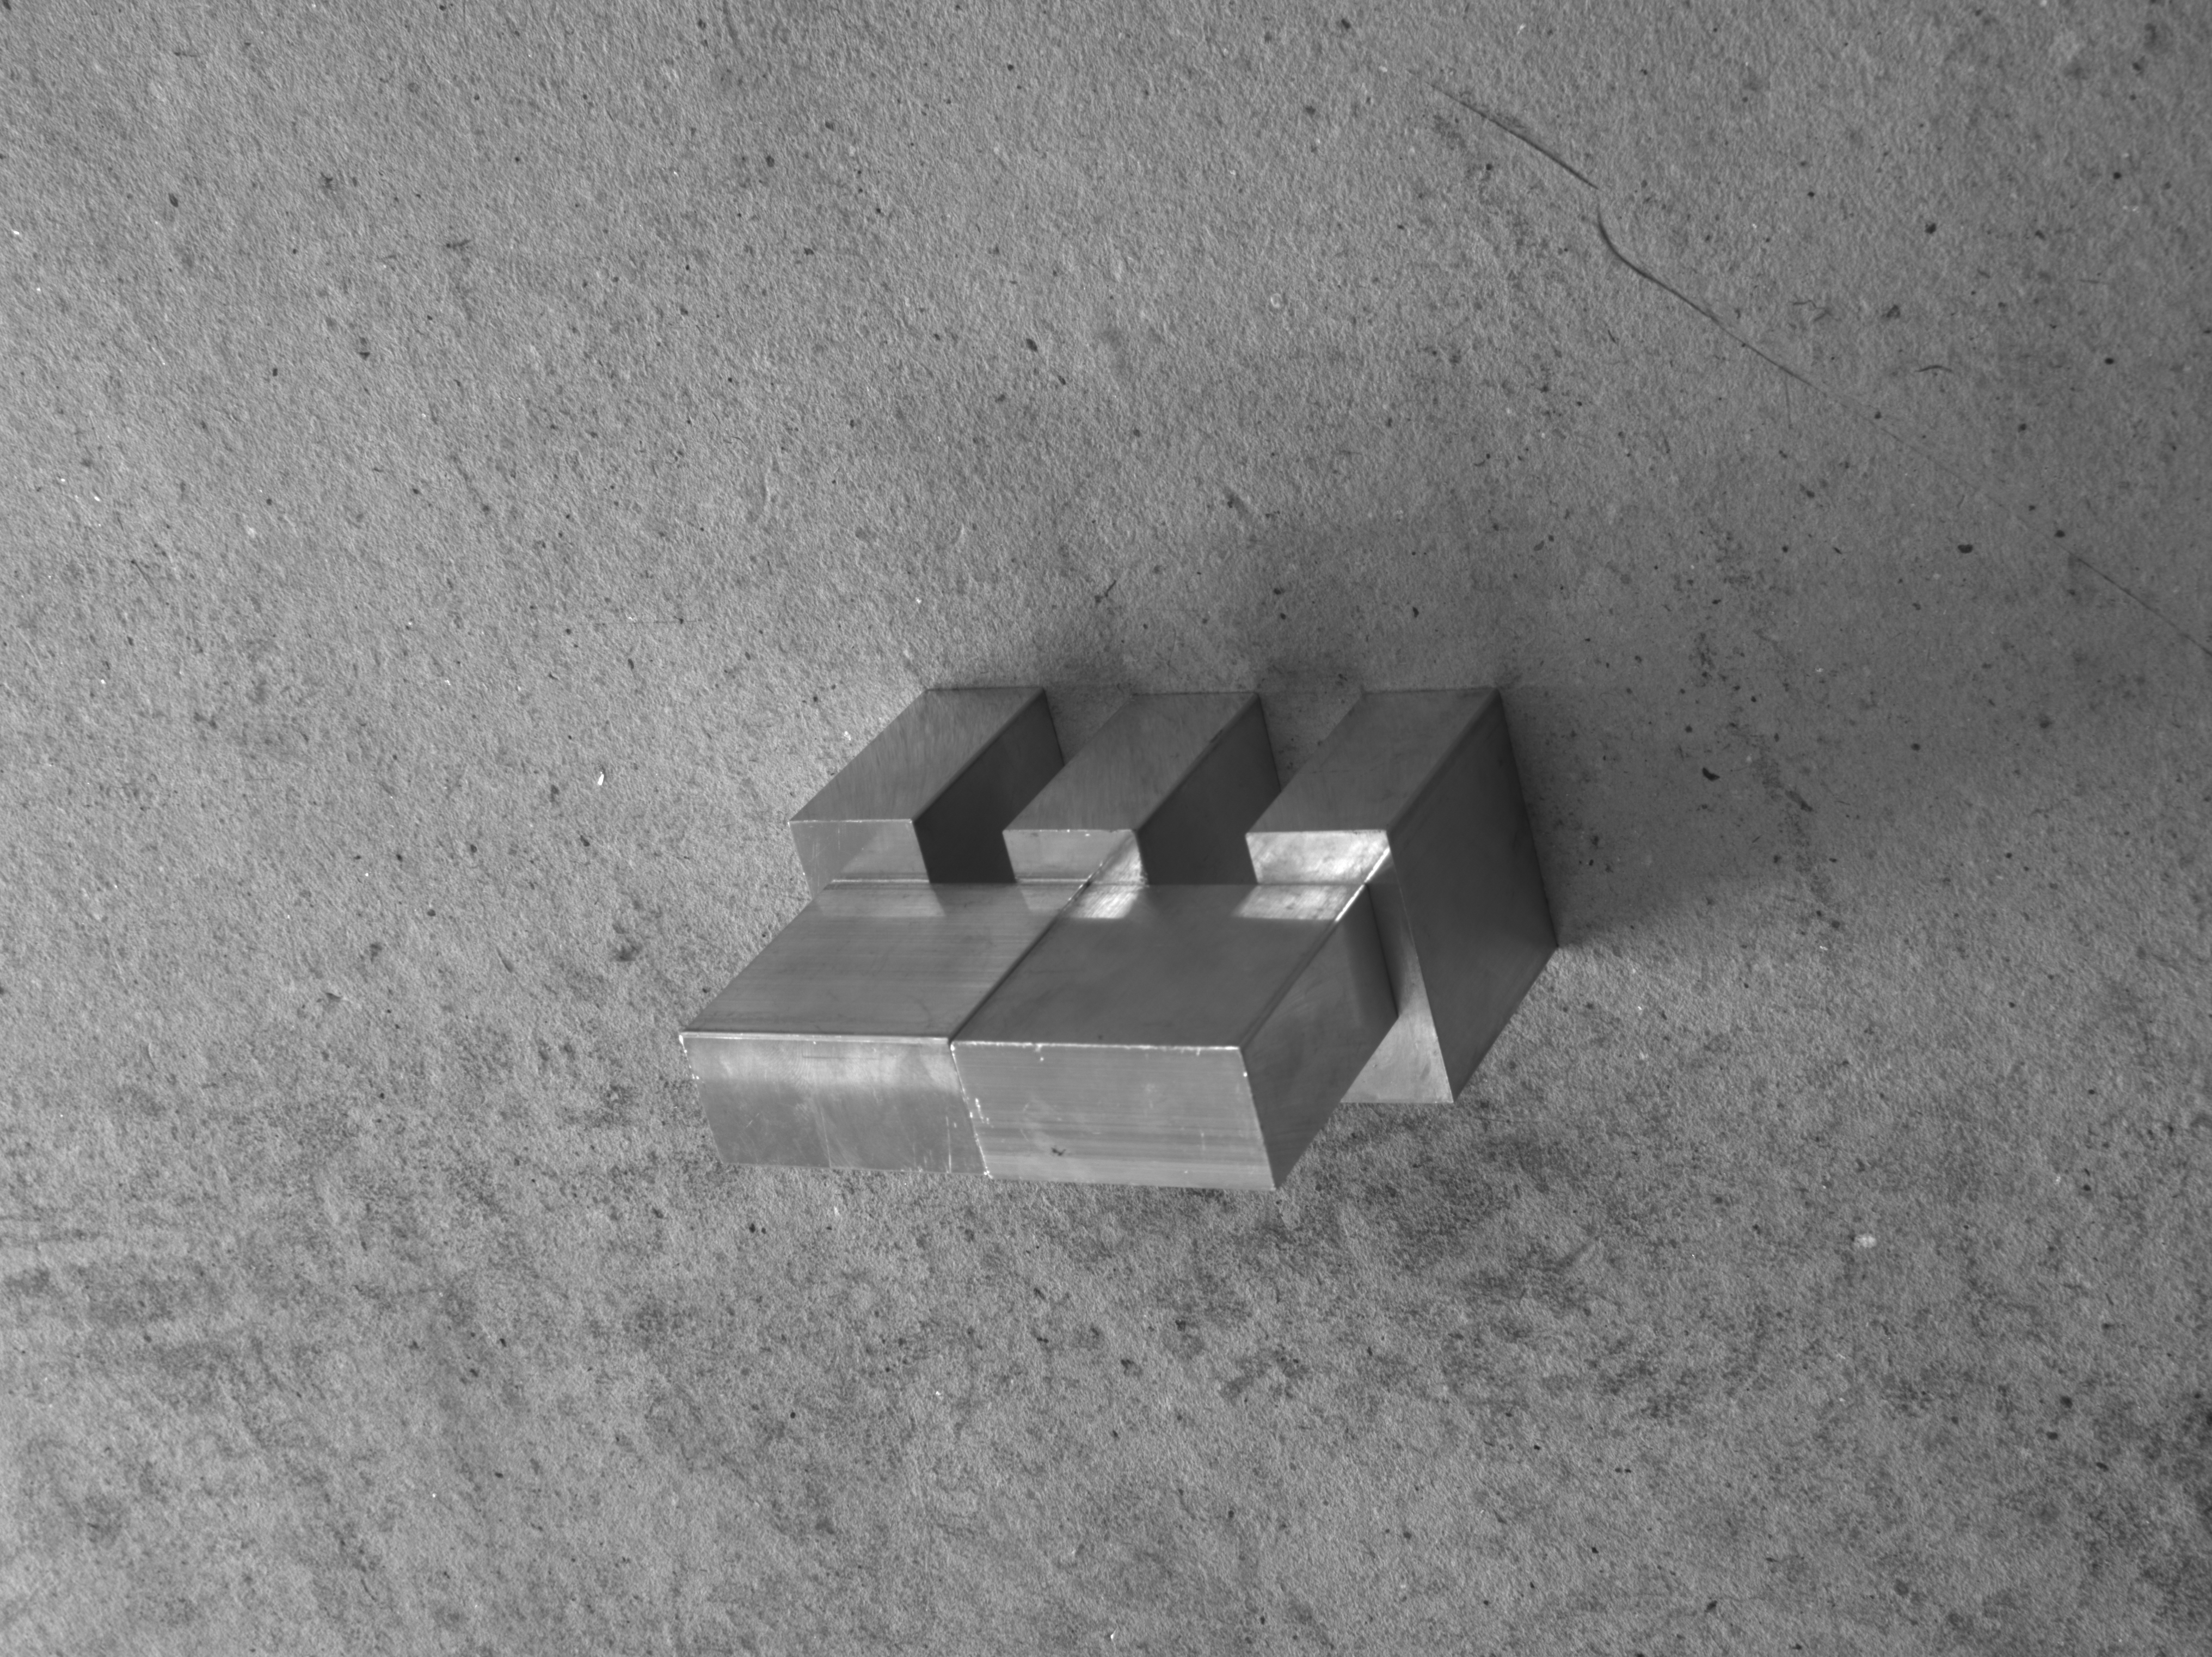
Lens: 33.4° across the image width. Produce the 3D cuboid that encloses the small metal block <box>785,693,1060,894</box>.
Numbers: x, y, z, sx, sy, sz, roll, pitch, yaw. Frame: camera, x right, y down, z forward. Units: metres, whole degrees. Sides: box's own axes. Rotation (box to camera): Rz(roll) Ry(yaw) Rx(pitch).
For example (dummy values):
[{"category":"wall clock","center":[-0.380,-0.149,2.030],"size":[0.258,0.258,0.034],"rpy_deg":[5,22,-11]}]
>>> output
[{"category":"small metal block","center":[-0.027,0.010,0.646],"size":[0.025,0.050,0.050],"rpy_deg":[0,118,29]}]

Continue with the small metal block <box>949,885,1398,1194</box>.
[{"category":"small metal block","center":[0.011,0.032,0.575],"size":[0.050,0.050,0.025],"rpy_deg":[-1,118,28]}]

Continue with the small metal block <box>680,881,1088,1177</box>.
[{"category":"small metal block","center":[-0.033,0.032,0.600],"size":[0.050,0.050,0.025],"rpy_deg":[-1,118,28]}]

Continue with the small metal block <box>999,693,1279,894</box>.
[{"category":"small metal block","center":[0.010,0.011,0.628],"size":[0.025,0.050,0.050],"rpy_deg":[-1,117,30]}]

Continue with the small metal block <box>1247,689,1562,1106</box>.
[{"category":"small metal block","center":[0.050,0.011,0.607],"size":[0.025,0.050,0.050],"rpy_deg":[-1,117,30]}]
